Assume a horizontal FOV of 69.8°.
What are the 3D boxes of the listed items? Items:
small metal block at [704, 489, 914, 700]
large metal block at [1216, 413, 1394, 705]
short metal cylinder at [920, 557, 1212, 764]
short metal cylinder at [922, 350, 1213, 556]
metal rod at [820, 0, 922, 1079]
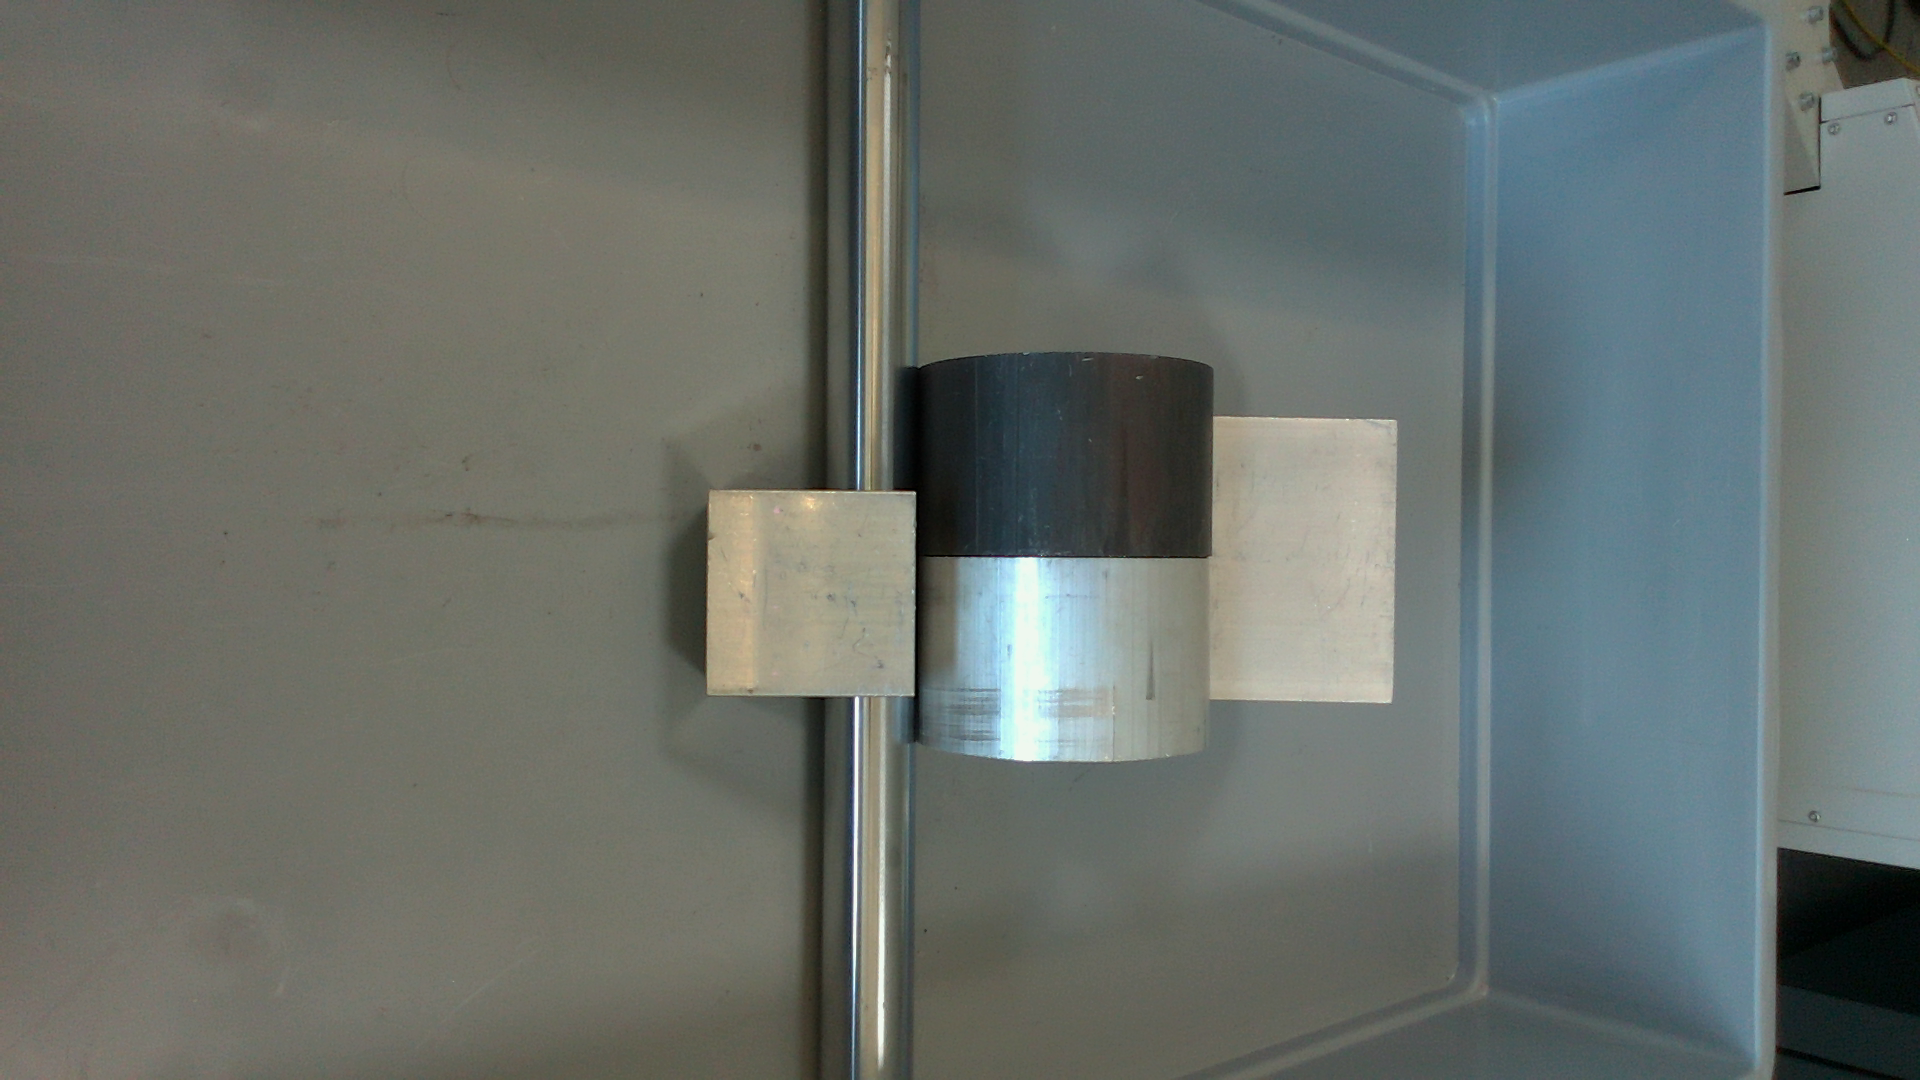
[{"bbox_3d":[-0.037,0.013,0.342,0.050,0.025,0.050,0,89,-5],"label":"small metal block"},{"bbox_3d":[0.093,0.005,0.420,0.050,0.080,0.080,1,90,-2],"label":"large metal block"},{"bbox_3d":[0.029,0.030,0.375,0.080,0.080,0.050,1,90,-40],"label":"short metal cylinder"},{"bbox_3d":[0.029,-0.021,0.375,0.080,0.080,0.050,1,90,-40],"label":"short metal cylinder"},{"bbox_3d":[-0.024,-0.003,0.366,0.025,0.025,0.300,1,90,-40],"label":"metal rod"}]
